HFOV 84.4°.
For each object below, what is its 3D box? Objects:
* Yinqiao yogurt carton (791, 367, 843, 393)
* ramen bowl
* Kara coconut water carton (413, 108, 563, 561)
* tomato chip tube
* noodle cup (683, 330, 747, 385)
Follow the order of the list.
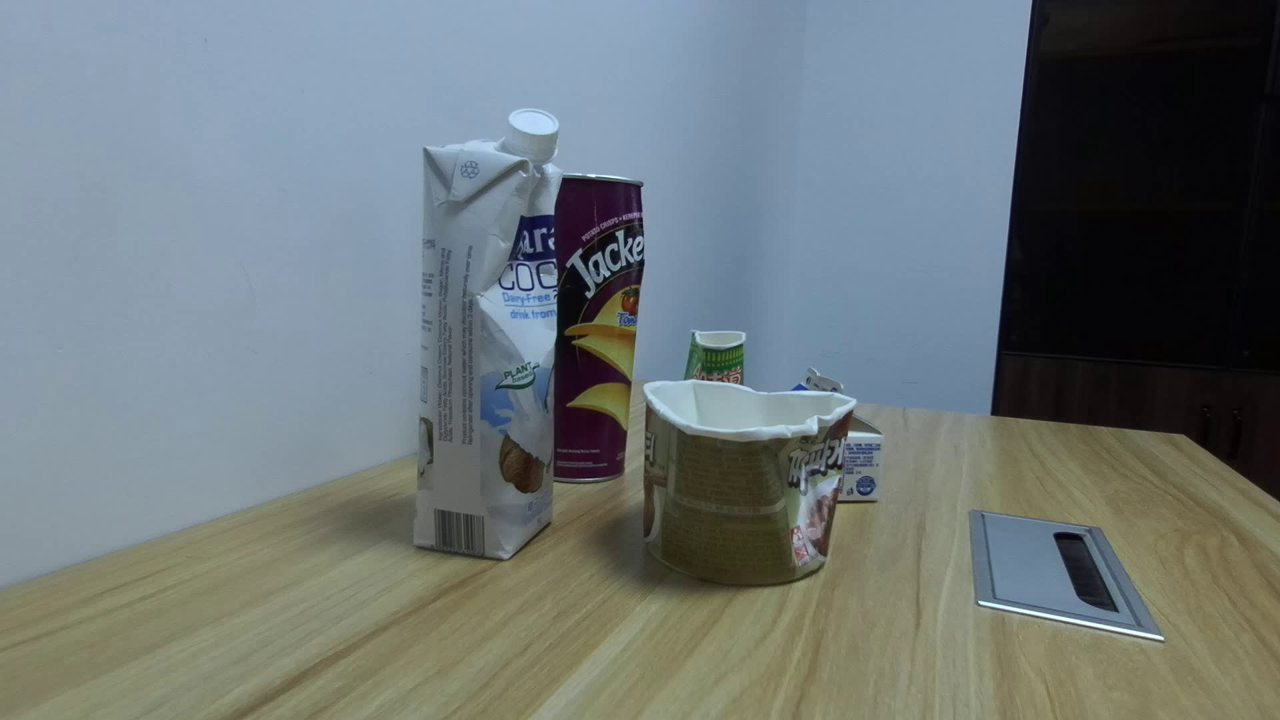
[{"bbox_3d":[0.139,0.056,0.549,0.074,0.091,0.075,2,8,-9],"label":"Yinqiao yogurt carton"},{"bbox_3d":[0.055,0.067,0.415,0.113,0.097,0.134,7,9,26],"label":"ramen bowl"},{"bbox_3d":[-0.090,-0.017,0.424,0.078,0.255,0.083,8,9,27],"label":"Kara coconut water carton"},{"bbox_3d":[-0.046,-0.025,0.571,0.076,0.235,0.077,-5,10,-43],"label":"tomato chip tube"},{"bbox_3d":[0.065,0.028,0.654,0.070,0.111,0.115,6,9,20],"label":"noodle cup"}]
